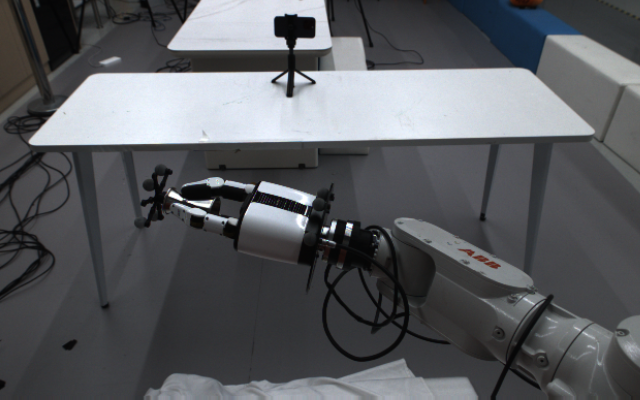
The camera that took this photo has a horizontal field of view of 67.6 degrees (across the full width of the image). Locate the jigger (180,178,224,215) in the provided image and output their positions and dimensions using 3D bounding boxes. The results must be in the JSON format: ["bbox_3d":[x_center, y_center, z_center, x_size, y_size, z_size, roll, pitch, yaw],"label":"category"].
[{"bbox_3d":[-0.174,0.008,0.679,0.071,0.043,0.043,14,36,4],"label":"jigger"}]
